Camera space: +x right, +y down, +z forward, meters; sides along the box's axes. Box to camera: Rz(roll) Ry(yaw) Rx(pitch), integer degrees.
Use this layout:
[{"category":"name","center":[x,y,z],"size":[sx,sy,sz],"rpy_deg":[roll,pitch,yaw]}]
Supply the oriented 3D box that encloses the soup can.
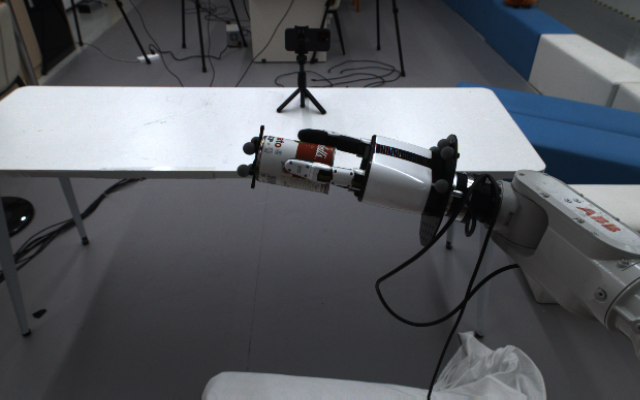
[{"category":"soup can","center":[-0.031,-0.049,0.678],"size":[0.101,0.067,0.067],"rpy_deg":[10,35,0]}]
